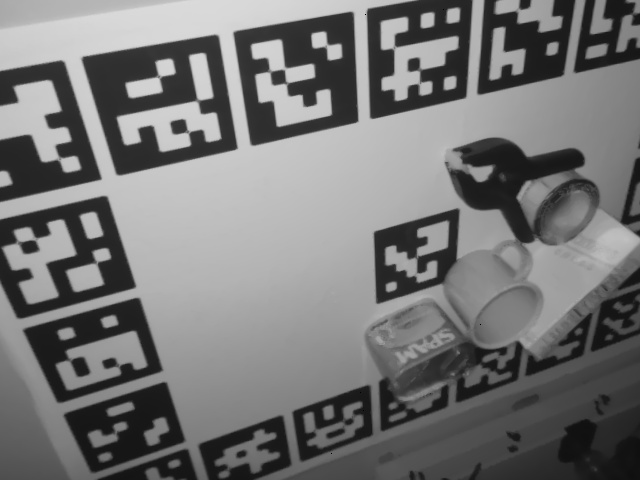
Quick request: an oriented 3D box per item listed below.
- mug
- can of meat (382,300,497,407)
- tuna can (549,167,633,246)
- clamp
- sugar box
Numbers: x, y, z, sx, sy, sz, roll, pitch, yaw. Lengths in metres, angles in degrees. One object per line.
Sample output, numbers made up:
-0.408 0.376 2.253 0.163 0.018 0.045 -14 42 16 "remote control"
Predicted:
0.220 0.058 0.751 0.094 0.081 0.116 9 113 -26 "mug"
0.127 0.121 0.758 0.102 0.083 0.057 -21 126 -8 "can of meat"
0.295 -0.039 0.758 0.087 0.033 0.085 -10 120 -17 "tuna can"
0.215 -0.069 0.714 0.167 0.036 0.120 21 113 -26 "clamp"
0.308 0.046 0.784 0.175 0.093 0.045 -45 126 9 "sugar box"
